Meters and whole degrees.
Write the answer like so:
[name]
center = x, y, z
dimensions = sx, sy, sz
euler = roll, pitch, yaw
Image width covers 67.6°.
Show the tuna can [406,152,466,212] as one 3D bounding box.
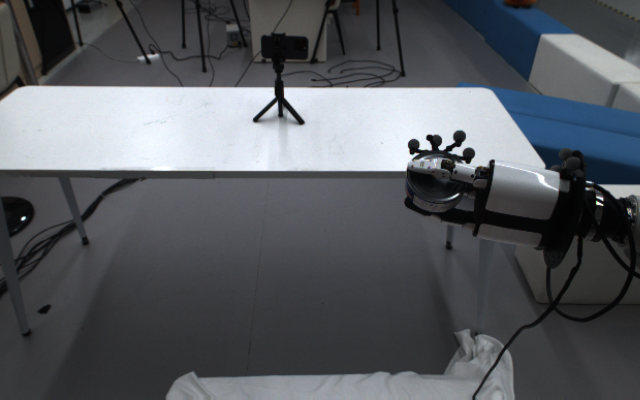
[tuna can]
center = 0.163, -0.032, 0.681
dimensions = 0.085, 0.034, 0.085
euler = -2, 57, 3
